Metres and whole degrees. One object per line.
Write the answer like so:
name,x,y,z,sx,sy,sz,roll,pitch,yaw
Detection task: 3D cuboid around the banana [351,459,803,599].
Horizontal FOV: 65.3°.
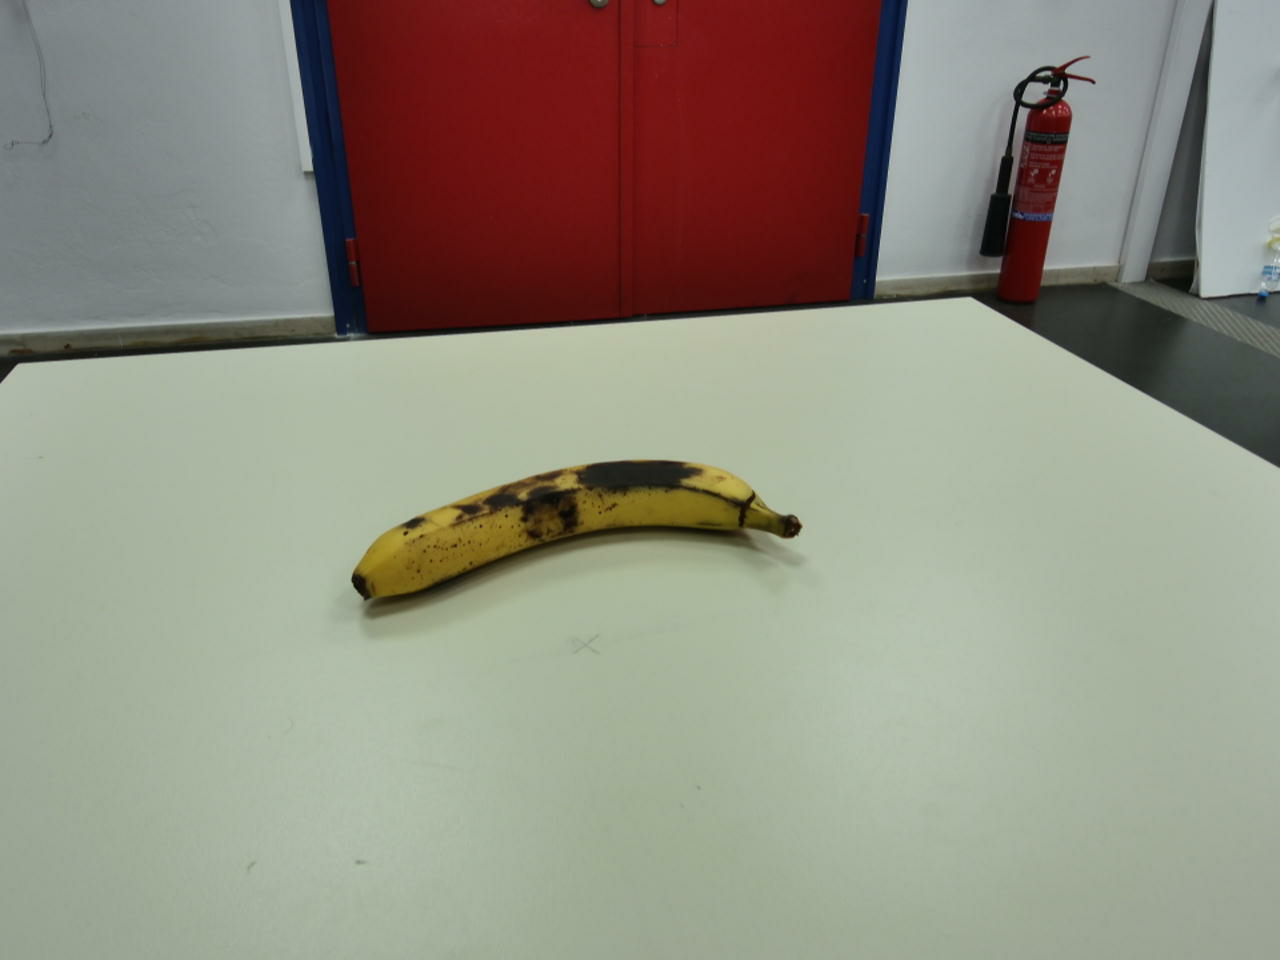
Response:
banana,-0.034,0.020,0.521,0.222,0.037,0.084,-6,26,-12
